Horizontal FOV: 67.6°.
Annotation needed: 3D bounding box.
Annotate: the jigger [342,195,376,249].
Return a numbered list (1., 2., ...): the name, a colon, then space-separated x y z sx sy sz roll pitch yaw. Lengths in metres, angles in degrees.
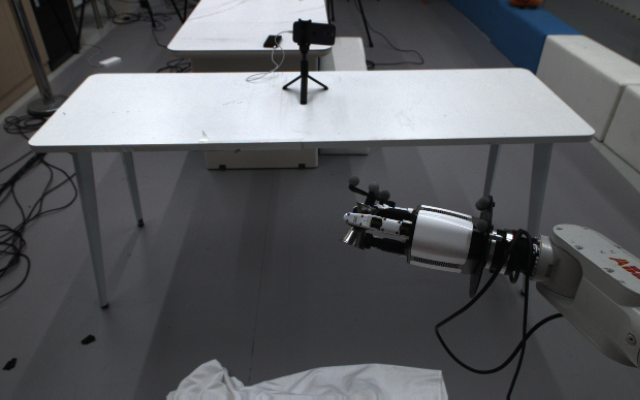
1. jigger: 0.062 0.039 0.773 0.043 0.071 0.043 24 -3 1
